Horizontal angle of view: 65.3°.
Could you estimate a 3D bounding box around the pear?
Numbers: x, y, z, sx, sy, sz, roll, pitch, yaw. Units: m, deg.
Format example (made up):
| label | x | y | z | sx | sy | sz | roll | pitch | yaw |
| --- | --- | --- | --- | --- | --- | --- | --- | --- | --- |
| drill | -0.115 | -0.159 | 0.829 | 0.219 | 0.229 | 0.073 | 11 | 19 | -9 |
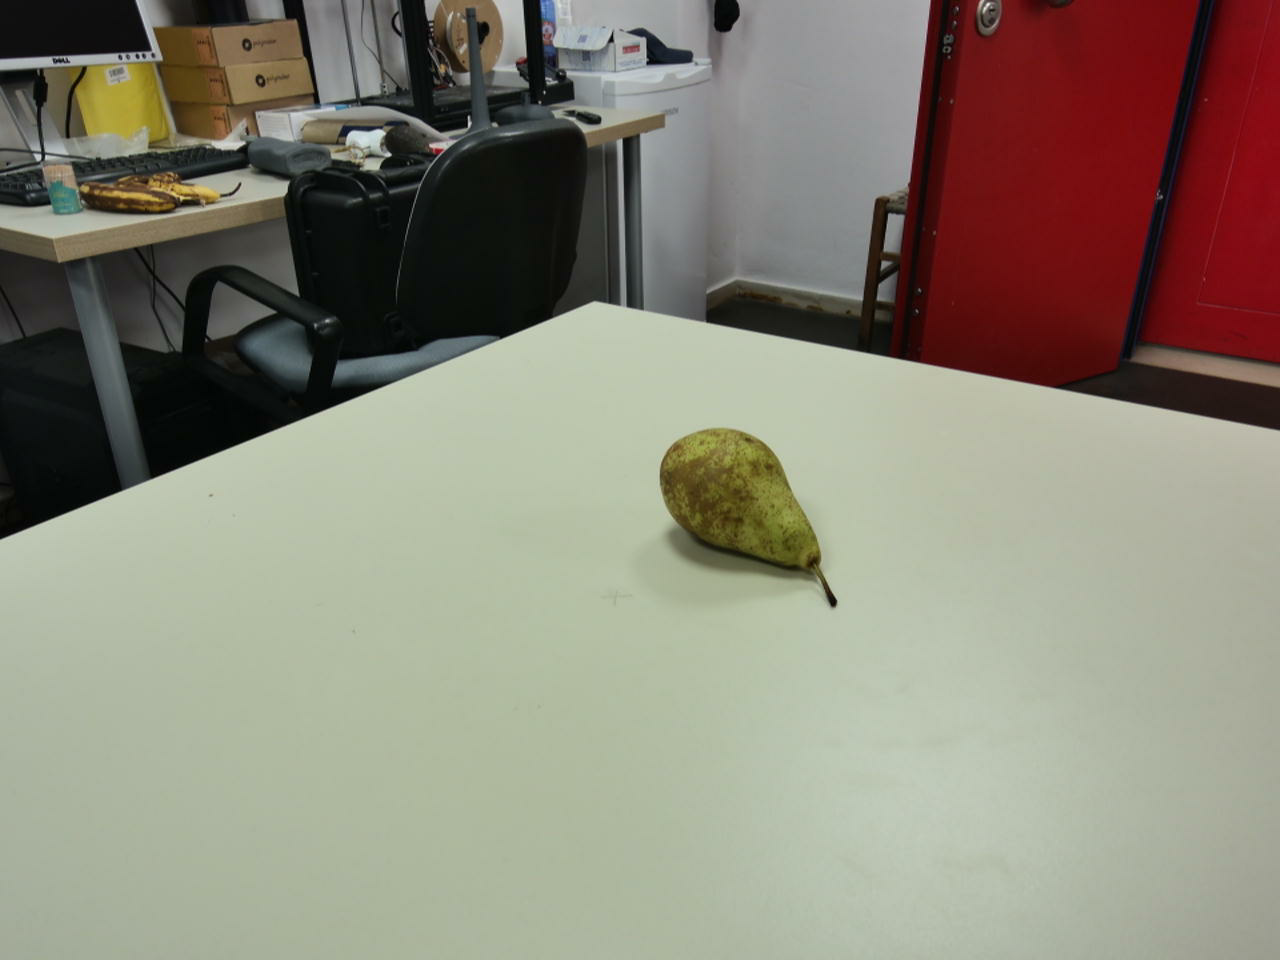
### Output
| label | x | y | z | sx | sy | sz | roll | pitch | yaw |
| --- | --- | --- | --- | --- | --- | --- | --- | --- | --- |
| pear | 0.070 | 0.010 | 0.598 | 0.128 | 0.075 | 0.071 | 14 | 28 | 25 |
